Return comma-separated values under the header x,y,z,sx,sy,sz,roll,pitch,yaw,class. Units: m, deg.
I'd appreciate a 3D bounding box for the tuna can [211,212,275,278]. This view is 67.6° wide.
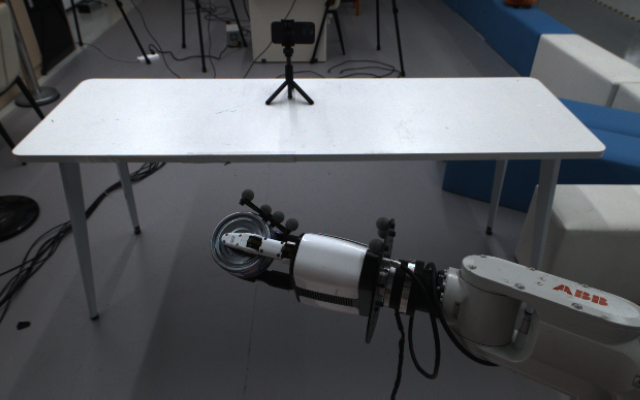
x,y,z,sx,sy,sz,roll,pitch,yaw,class
-0.099,0.066,0.649,0.085,0.034,0.085,-4,69,10,tuna can
